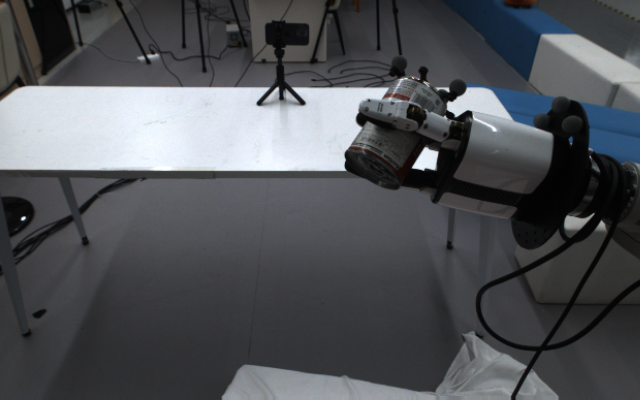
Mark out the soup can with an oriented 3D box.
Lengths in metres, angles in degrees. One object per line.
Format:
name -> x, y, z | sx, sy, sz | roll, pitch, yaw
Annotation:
soup can -> 0.081, -0.073, 0.515 | 0.067, 0.067, 0.101 | 27, 76, 31
